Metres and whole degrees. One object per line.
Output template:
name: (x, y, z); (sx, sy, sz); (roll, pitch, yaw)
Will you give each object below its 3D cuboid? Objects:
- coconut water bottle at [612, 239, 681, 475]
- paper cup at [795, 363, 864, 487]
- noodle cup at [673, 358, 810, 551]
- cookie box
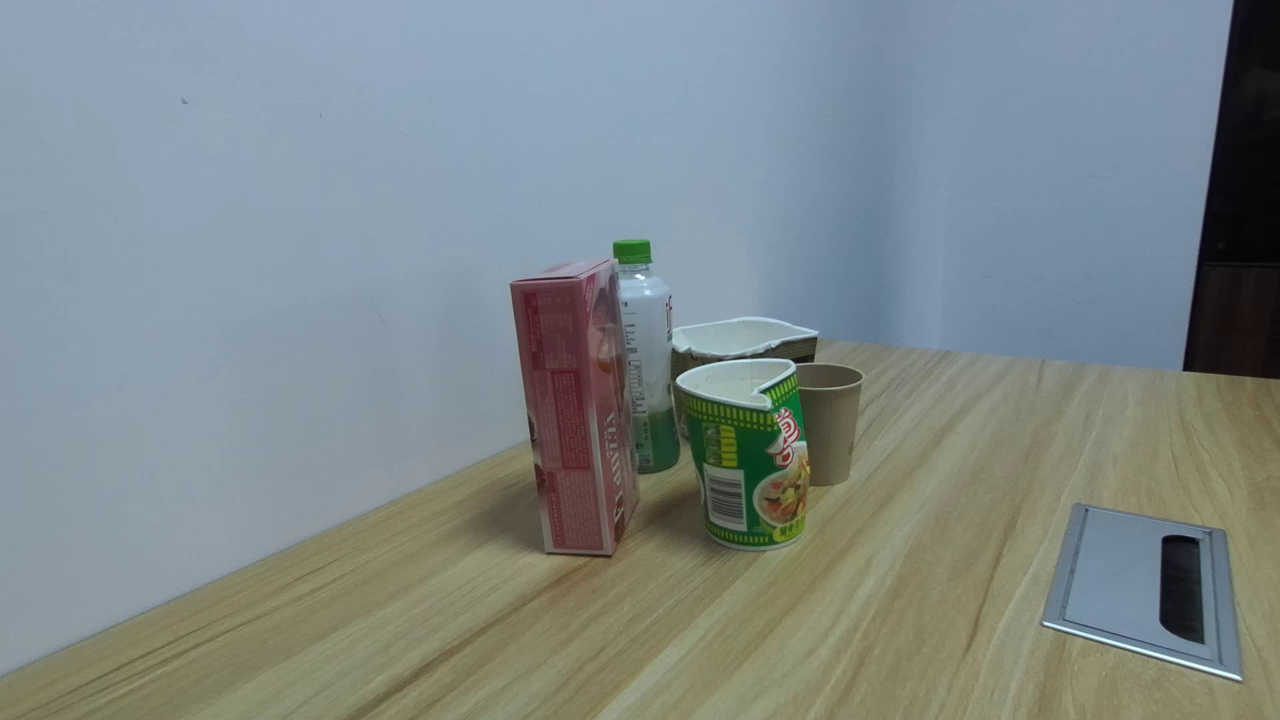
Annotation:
coconut water bottle: (-0.001, -0.003, 0.588); (0.063, 0.188, 0.063); (-3, 13, 1)
paper cup: (0.138, 0.052, 0.556); (0.075, 0.082, 0.075); (-3, 14, 1)
noodle cup: (0.073, 0.062, 0.476); (0.086, 0.109, 0.094); (9, 19, 41)
cookie box: (-0.038, 0.030, 0.484); (0.048, 0.184, 0.096); (-2, 14, 12)
